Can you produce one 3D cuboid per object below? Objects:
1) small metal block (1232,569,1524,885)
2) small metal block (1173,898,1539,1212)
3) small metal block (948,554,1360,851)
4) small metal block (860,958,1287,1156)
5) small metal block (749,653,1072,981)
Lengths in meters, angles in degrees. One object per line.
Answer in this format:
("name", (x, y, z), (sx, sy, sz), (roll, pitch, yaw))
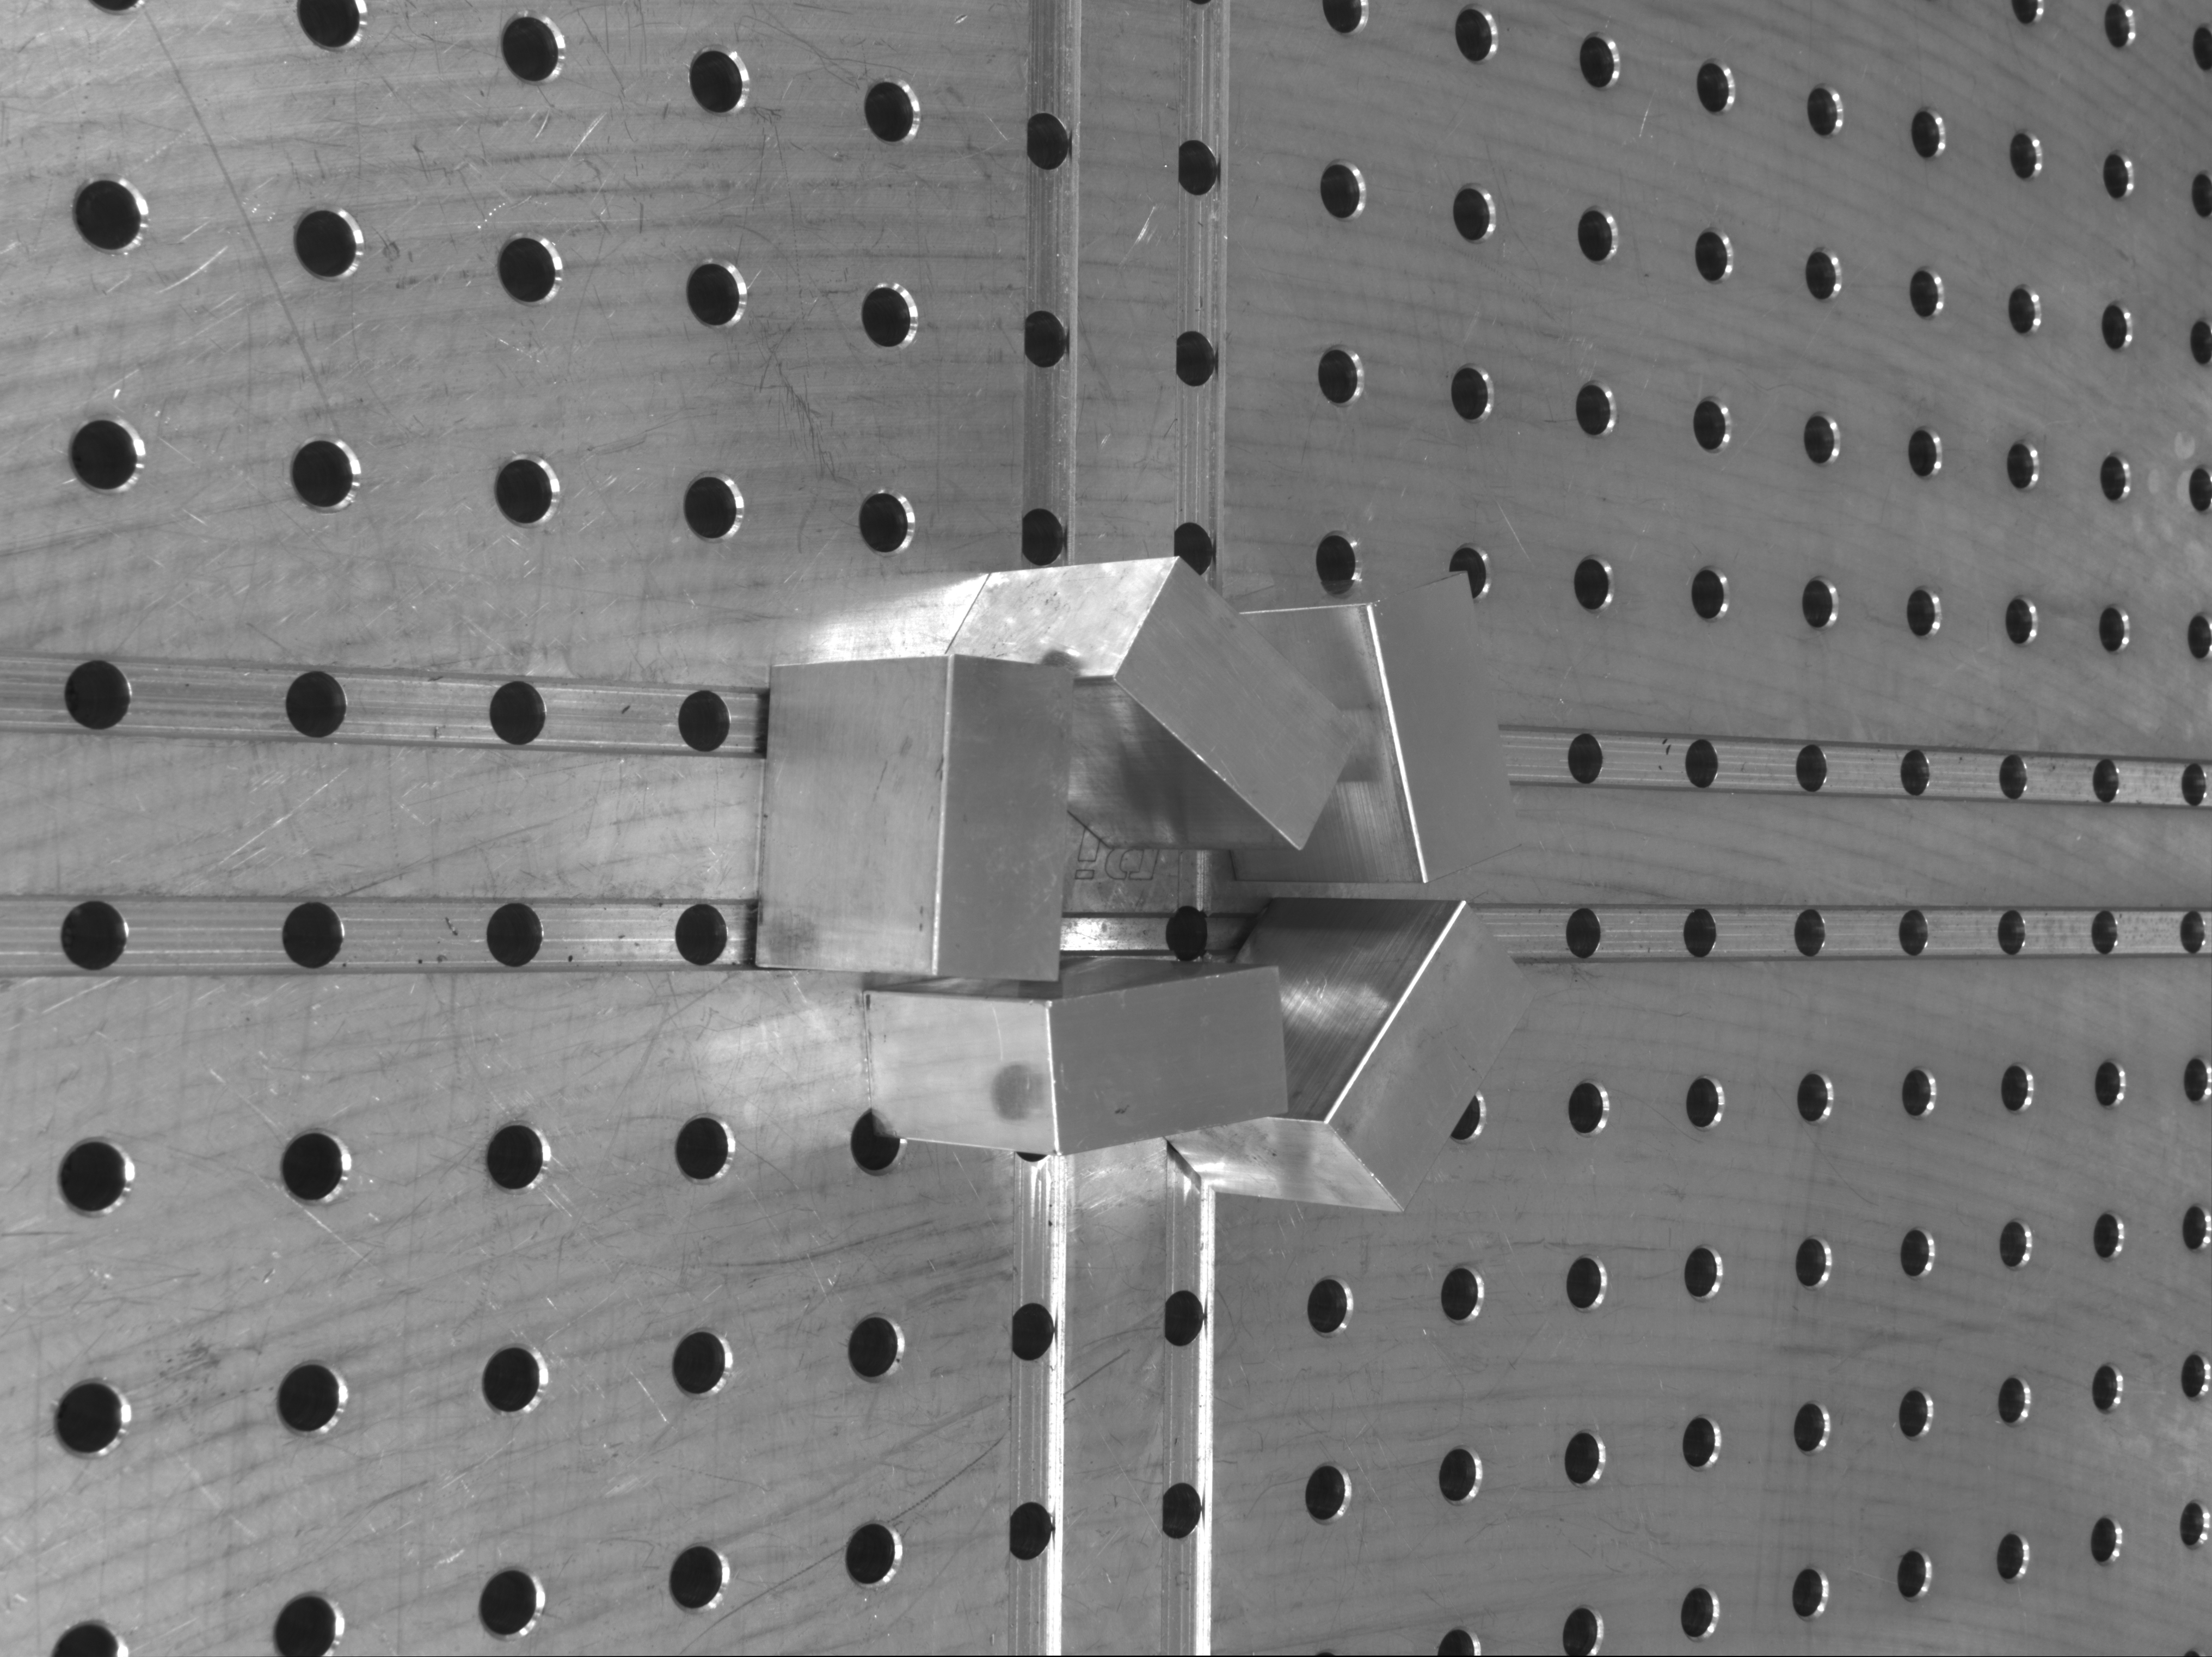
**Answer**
("small metal block", (0.043, -0.017, 0.658), (0.025, 0.050, 0.050), (-20, 102, -38))
("small metal block", (0.041, 0.039, 0.657), (0.025, 0.050, 0.050), (49, 61, -27))
("small metal block", (0.006, -0.021, 0.628), (0.050, 0.050, 0.025), (41, 66, -32))
("small metal block", (-0.006, 0.038, 0.618), (0.050, 0.050, 0.025), (-6, 94, -40))
("small metal block", (-0.032, -0.002, 0.596), (0.025, 0.050, 0.050), (5, 88, -39))
